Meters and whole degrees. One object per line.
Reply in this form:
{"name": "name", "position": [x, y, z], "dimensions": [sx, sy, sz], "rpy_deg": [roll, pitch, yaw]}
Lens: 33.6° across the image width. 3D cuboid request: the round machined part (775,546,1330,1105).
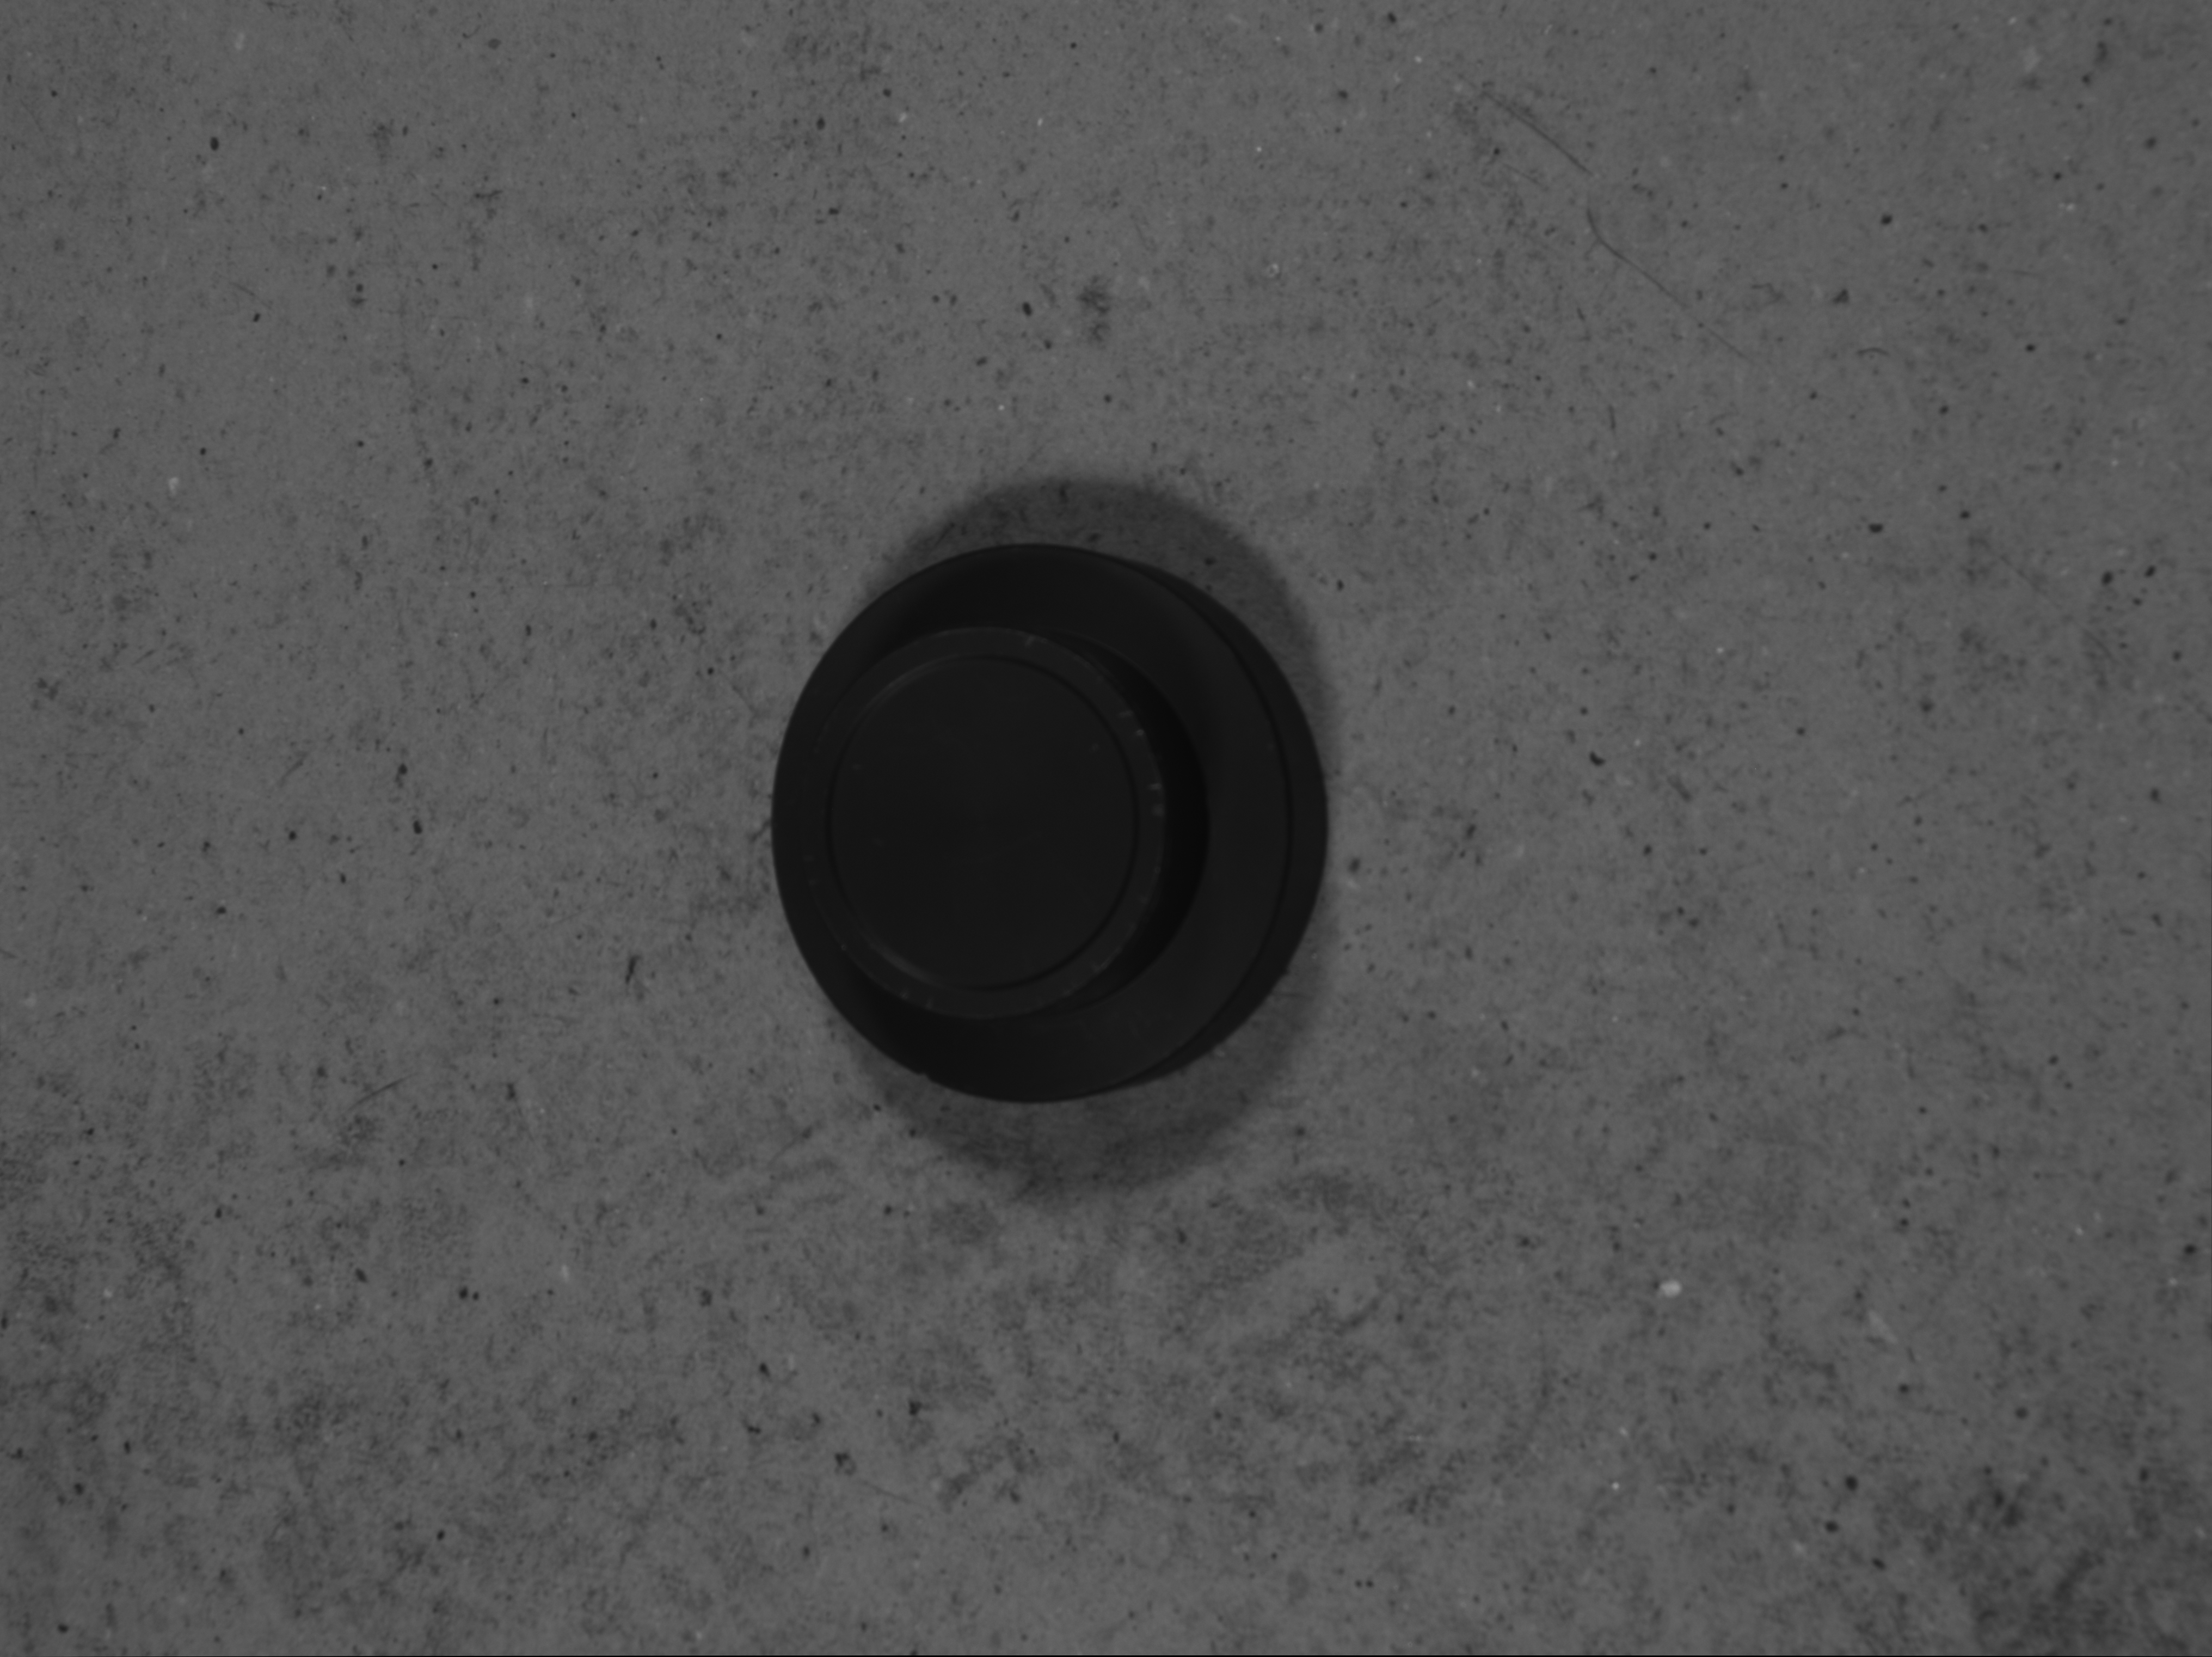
{"name": "round machined part", "position": [-0.014, 0.000, 0.640], "dimensions": [0.098, 0.042, 0.098], "rpy_deg": [0, 90, 20]}
